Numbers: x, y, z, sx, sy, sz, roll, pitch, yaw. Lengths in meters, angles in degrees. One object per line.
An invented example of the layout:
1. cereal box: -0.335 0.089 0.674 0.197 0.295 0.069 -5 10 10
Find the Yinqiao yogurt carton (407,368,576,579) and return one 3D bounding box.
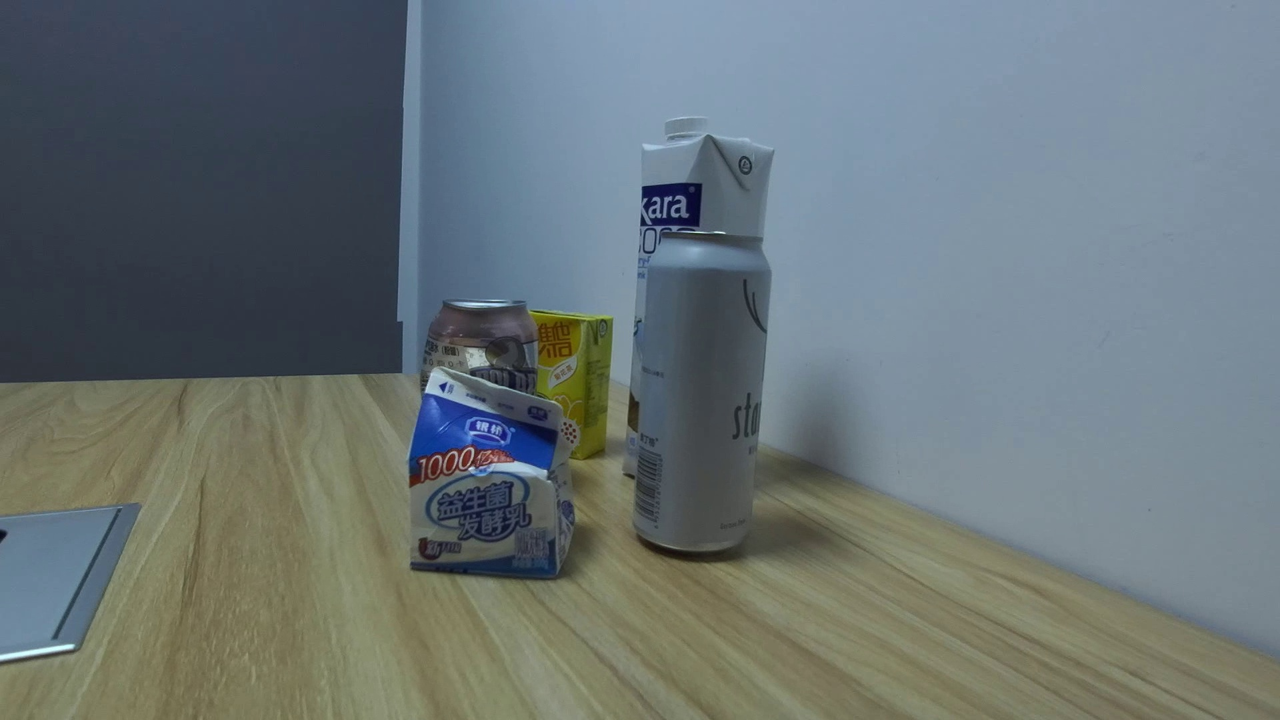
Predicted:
1. Yinqiao yogurt carton: -0.076 0.052 0.364 0.083 0.093 0.077 4 8 0

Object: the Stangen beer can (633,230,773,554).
1. Stangen beer can: 0.033 0.017 0.387 0.067 0.171 0.067 4 7 0

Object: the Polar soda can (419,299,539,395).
1. Polar soda can: -0.101 0.022 0.471 0.074 0.122 0.067 8 12 38
